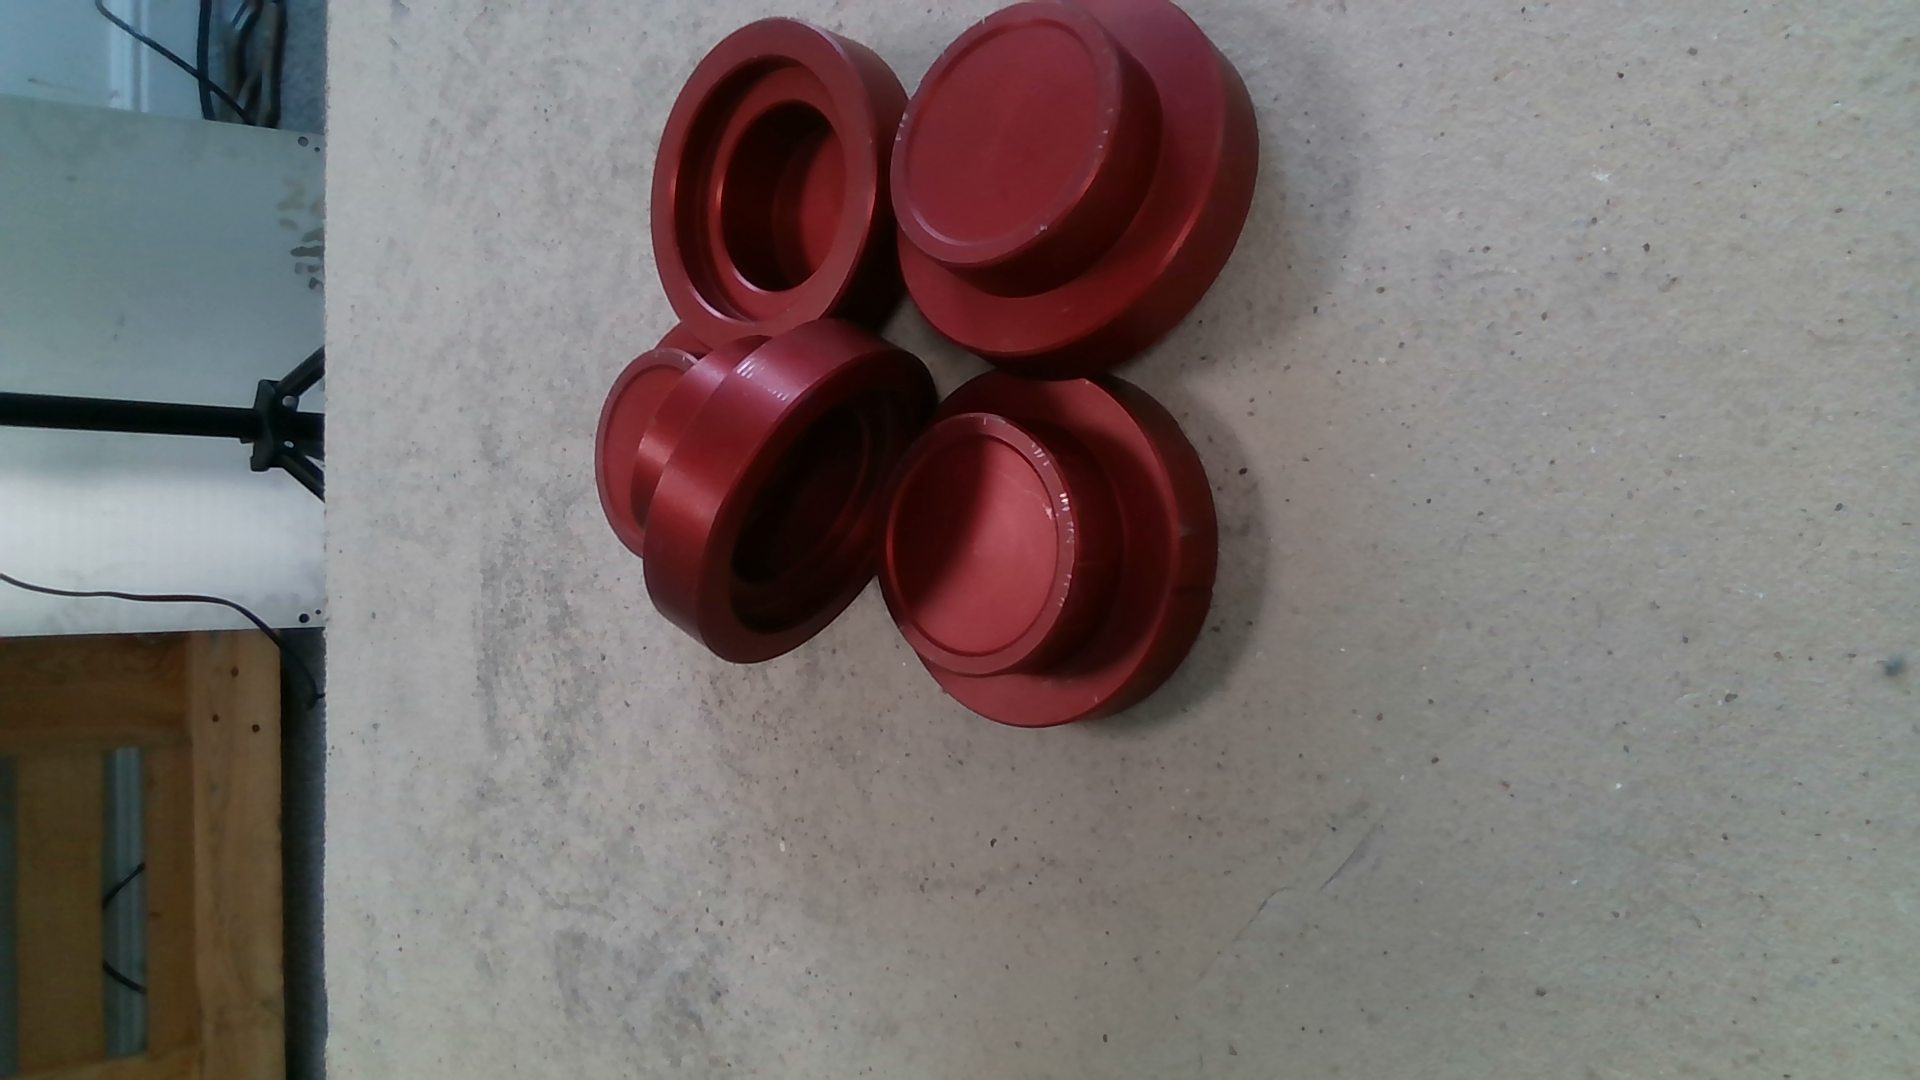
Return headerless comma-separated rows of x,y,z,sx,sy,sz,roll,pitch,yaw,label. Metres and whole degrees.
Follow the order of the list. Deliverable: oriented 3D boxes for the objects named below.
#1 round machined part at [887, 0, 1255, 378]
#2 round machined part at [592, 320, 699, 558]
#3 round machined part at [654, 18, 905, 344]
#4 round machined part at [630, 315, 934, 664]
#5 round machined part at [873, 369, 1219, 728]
0.021,-0.094,0.348,0.098,0.042,0.098,-12,70,35,round machined part
-0.082,-0.027,0.449,0.098,0.042,0.098,1,92,39,round machined part
-0.047,-0.103,0.418,0.098,0.042,0.098,0,91,42,round machined part
-0.053,-0.018,0.384,0.042,0.098,0.098,31,110,22,round machined part
0.015,0.001,0.366,0.098,0.042,0.098,1,92,39,round machined part
